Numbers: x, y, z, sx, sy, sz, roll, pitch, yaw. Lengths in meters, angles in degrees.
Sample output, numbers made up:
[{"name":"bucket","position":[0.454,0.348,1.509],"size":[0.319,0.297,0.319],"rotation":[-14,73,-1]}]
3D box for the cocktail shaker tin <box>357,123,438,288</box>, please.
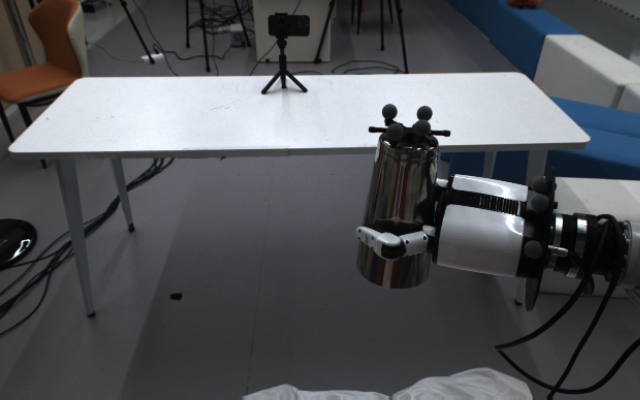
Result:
[{"name":"cocktail shaker tin","position":[0.097,0.007,0.571],"size":[0.093,0.170,0.093],"rotation":[2,28,-1]}]
